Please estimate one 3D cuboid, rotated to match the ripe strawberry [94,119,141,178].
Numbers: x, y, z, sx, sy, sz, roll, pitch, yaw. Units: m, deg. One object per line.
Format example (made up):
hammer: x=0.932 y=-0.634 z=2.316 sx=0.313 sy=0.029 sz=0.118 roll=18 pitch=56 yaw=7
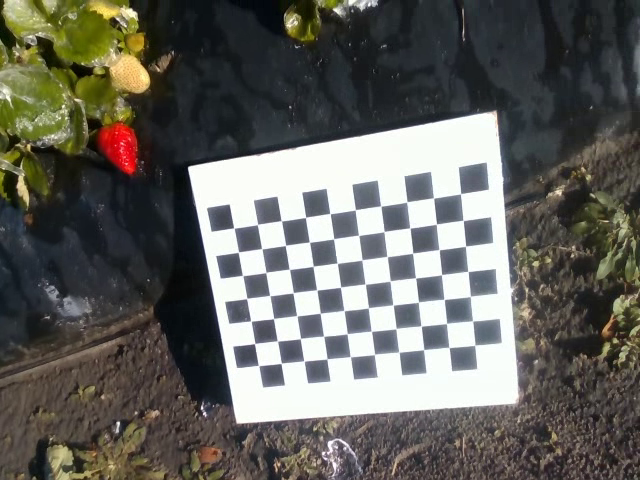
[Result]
ripe strawberry: x=-0.202 y=-0.089 z=0.706 sx=0.041 sy=0.052 sz=0.040 roll=-26 pitch=-2 yaw=14
